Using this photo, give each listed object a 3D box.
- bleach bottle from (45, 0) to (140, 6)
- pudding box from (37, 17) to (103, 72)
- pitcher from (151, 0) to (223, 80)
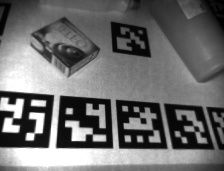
[{"bbox_3d":[-0.040,-0.246,0.562,0.253,0.067,0.102,2,66,-19],"label":"bleach bottle"},{"bbox_3d":[-0.090,-0.095,0.470,0.113,0.038,0.090,45,53,7],"label":"pudding box"},{"bbox_3d":[0.221,-0.141,0.572,0.191,0.132,0.241,-2,63,-58],"label":"pitcher"}]
